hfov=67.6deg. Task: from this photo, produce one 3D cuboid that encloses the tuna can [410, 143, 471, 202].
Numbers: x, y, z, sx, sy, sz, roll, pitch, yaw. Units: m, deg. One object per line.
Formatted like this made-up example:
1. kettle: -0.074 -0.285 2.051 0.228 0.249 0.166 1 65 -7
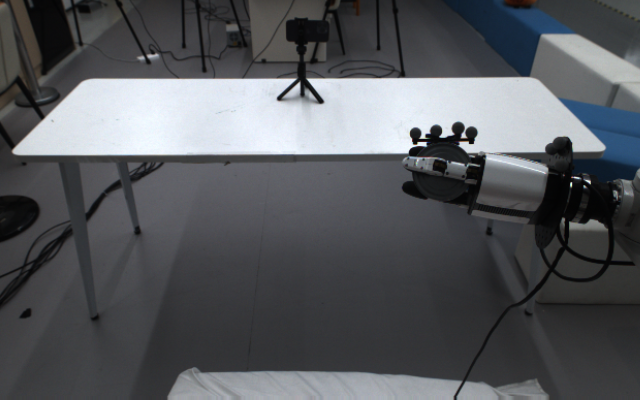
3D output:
1. tuna can: 0.180 -0.043 0.711 0.085 0.085 0.034 13 -1 15
